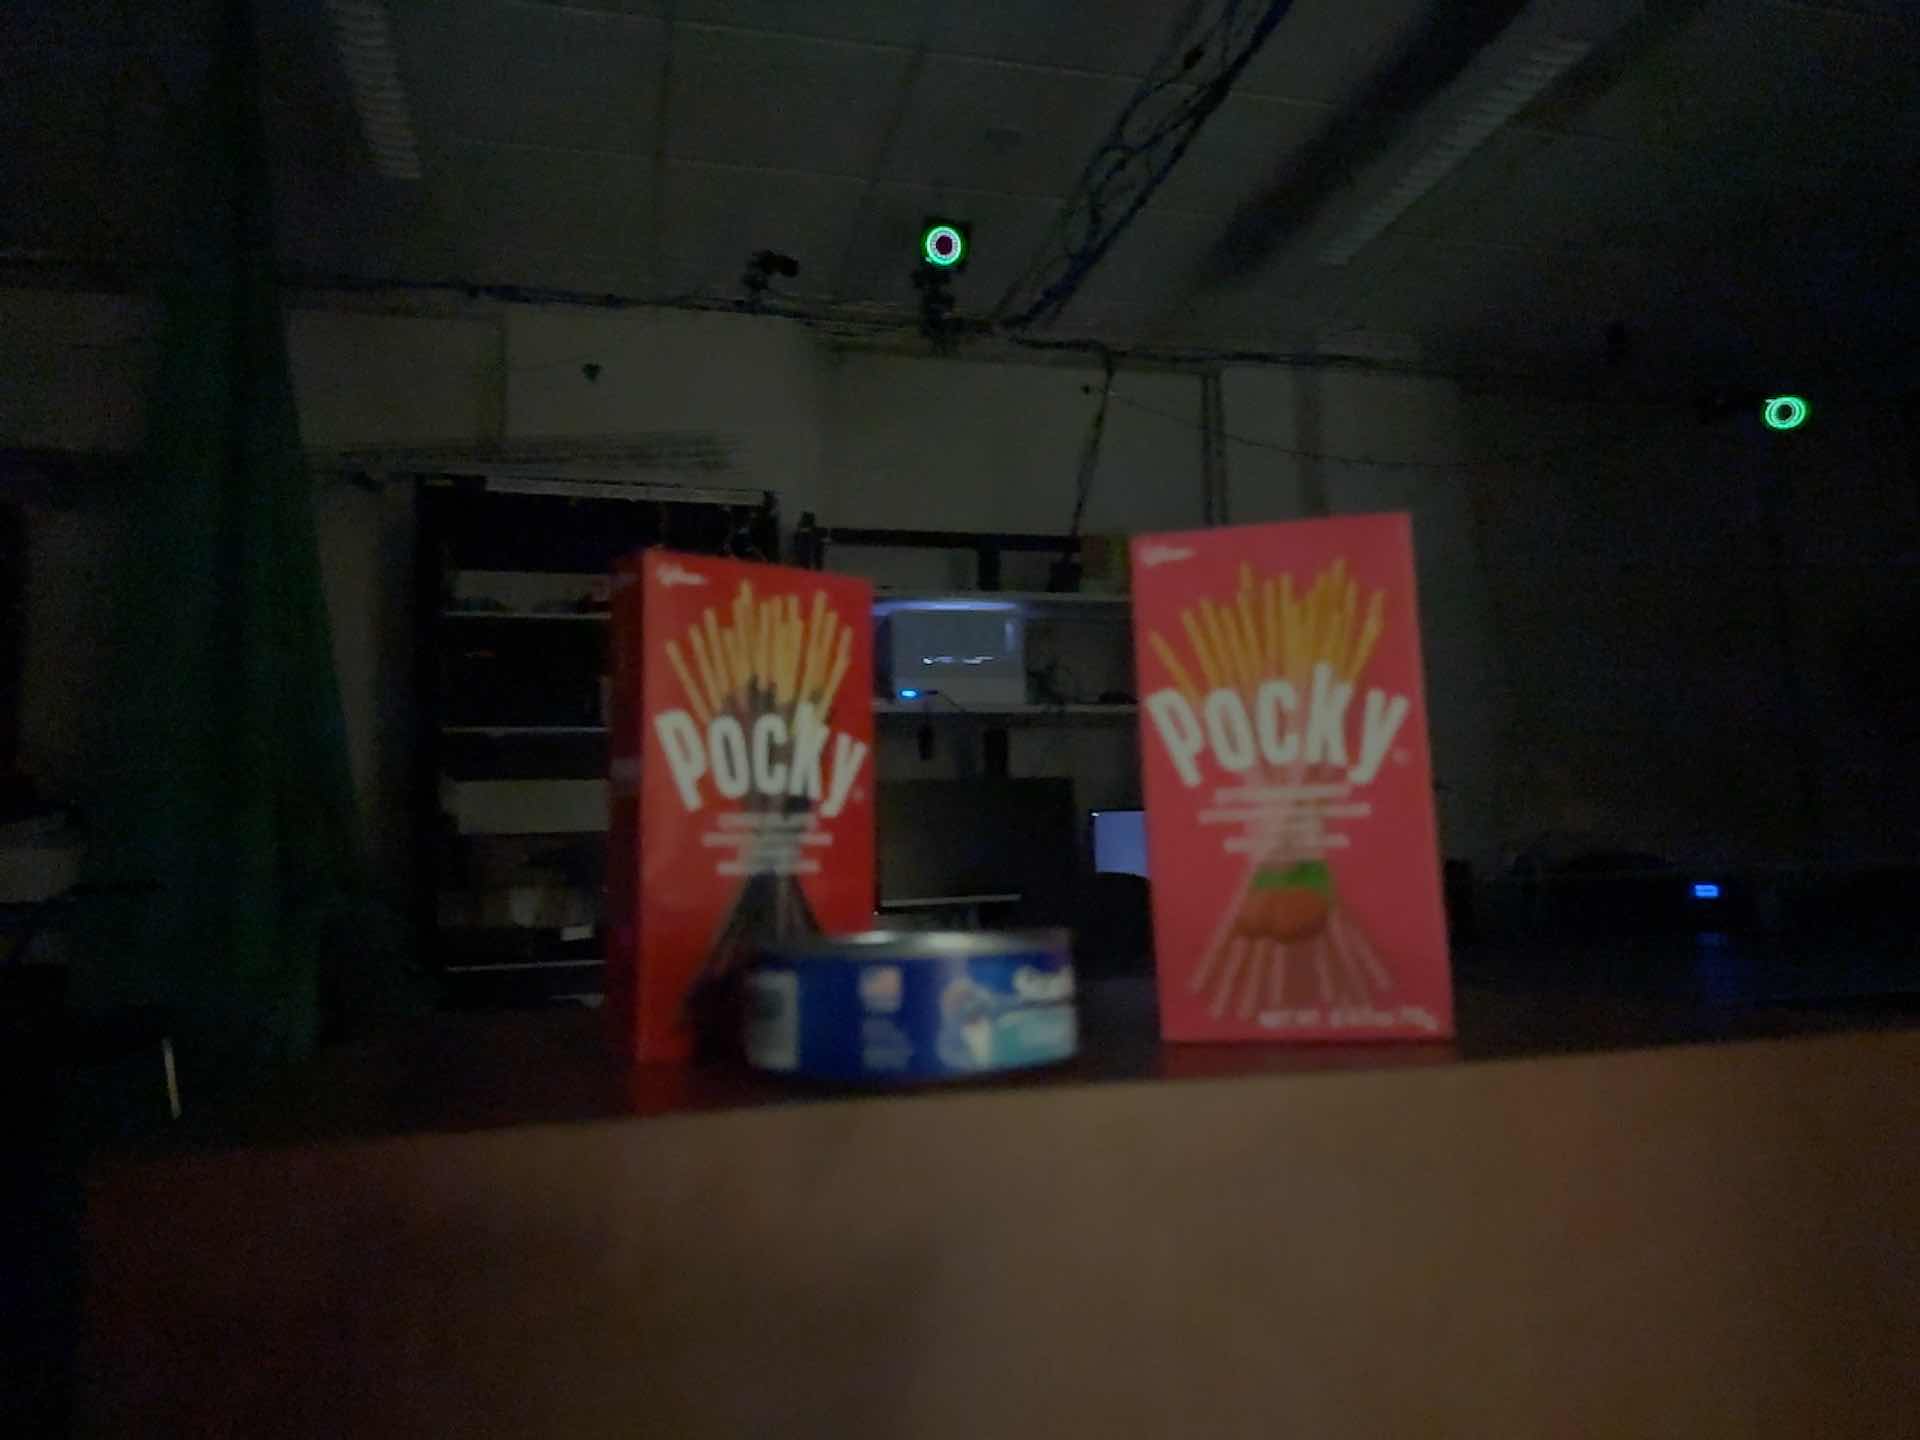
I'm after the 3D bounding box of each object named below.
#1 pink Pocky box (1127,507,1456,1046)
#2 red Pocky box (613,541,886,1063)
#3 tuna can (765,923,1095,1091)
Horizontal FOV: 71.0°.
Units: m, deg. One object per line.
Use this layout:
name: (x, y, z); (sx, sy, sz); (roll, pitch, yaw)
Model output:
pink Pocky box: (0.097, 0.017, 0.403); (0.084, 0.155, 0.029); (-4, -5, 9)
red Pocky box: (-0.065, 0.025, 0.420); (0.083, 0.155, 0.028); (2, -6, -30)
tuna can: (-0.008, 0.071, 0.345); (0.083, 0.034, 0.083); (-2, -6, 0)
